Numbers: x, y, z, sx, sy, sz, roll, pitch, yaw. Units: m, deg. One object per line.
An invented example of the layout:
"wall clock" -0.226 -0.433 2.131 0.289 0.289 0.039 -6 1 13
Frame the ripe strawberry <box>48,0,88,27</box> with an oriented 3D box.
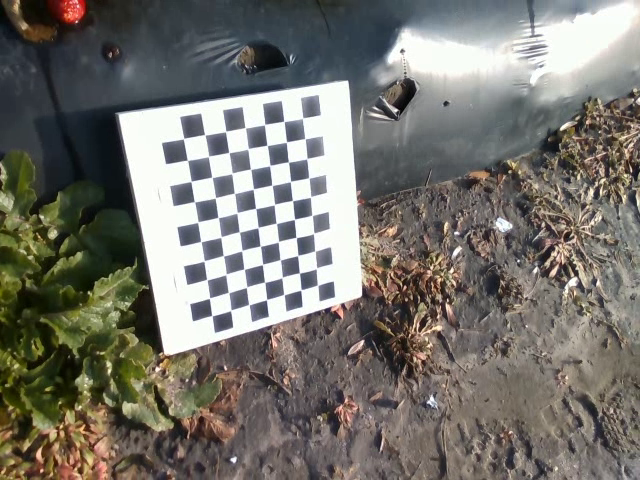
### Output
"ripe strawberry" -0.228 -0.209 0.586 0.046 0.054 0.038 9 -37 -30
